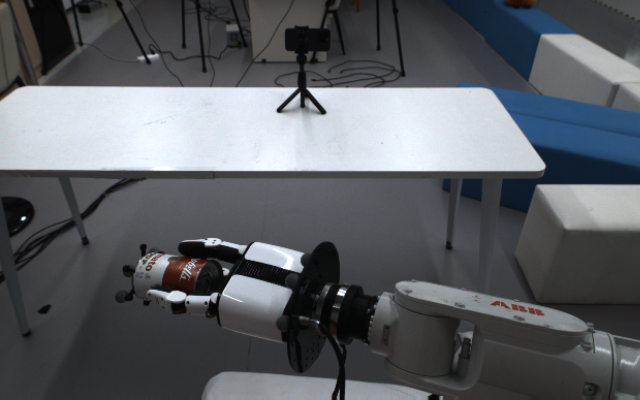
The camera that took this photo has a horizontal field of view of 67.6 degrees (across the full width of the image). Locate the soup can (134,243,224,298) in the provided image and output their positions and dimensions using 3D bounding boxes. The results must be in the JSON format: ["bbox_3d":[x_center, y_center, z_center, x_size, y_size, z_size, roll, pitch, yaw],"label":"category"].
[{"bbox_3d":[-0.189,0.111,0.652,0.101,0.067,0.067,4,34,20],"label":"soup can"}]
